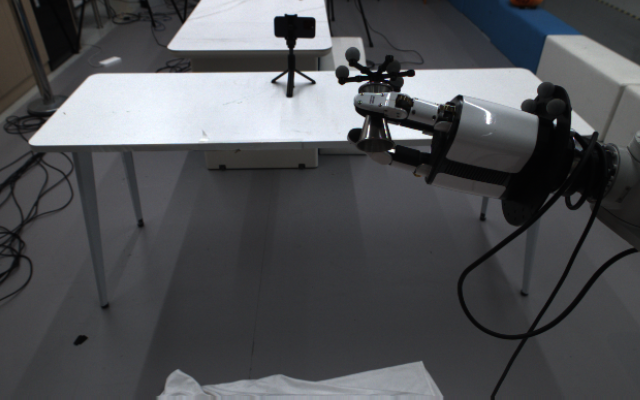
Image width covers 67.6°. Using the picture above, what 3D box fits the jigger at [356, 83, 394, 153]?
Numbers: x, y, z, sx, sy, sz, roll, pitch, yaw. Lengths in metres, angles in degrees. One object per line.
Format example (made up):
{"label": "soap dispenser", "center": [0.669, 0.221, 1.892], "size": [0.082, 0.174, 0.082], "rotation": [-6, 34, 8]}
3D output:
{"label": "jigger", "center": [0.062, -0.093, 0.545], "size": [0.043, 0.043, 0.071], "rotation": [3, 76, 1]}
